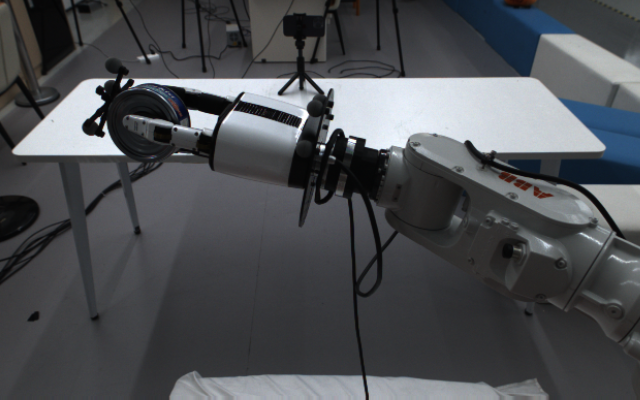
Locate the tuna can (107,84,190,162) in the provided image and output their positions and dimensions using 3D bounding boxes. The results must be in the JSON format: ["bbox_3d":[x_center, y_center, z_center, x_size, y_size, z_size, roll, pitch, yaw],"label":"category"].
[{"bbox_3d":[-0.189,-0.082,0.544,0.085,0.085,0.034,4,22,2],"label":"tuna can"}]
